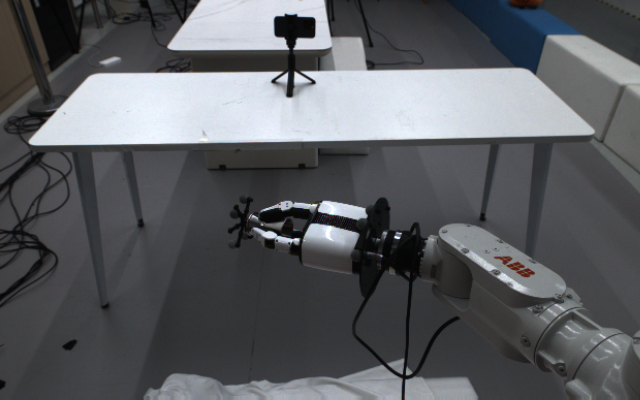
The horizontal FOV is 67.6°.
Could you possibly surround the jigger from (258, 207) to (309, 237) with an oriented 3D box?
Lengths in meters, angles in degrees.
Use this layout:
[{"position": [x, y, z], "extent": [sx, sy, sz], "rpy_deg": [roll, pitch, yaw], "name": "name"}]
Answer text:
[{"position": [-0.080, 0.044, 0.814], "extent": [0.071, 0.043, 0.043], "rpy_deg": [10, 35, 21], "name": "jigger"}]
